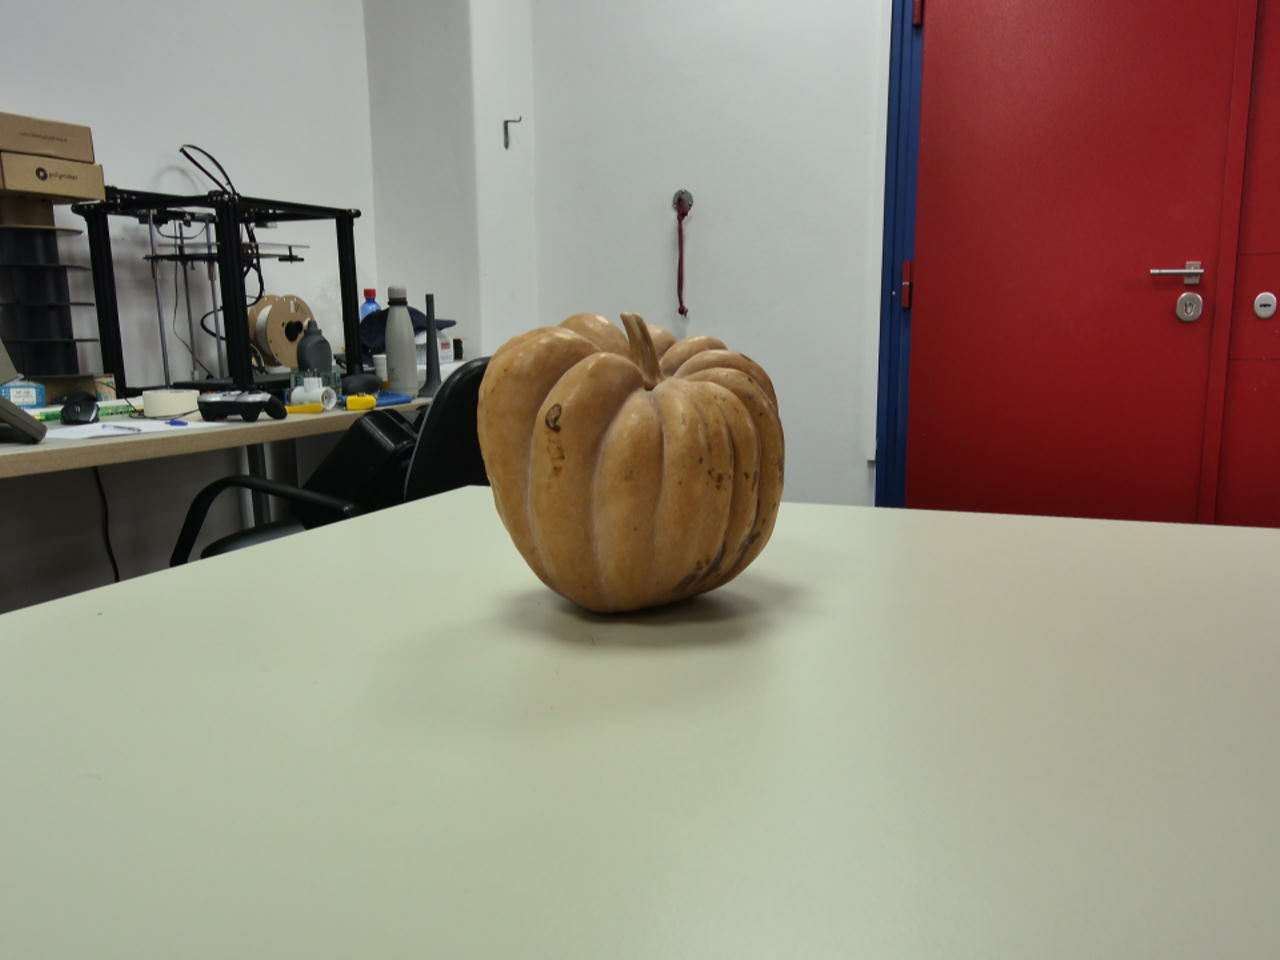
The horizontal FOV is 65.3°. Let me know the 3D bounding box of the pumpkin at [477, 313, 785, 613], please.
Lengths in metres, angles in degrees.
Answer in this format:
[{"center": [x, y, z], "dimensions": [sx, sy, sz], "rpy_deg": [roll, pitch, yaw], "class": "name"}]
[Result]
[{"center": [-0.008, -0.013, 0.608], "dimensions": [0.199, 0.177, 0.198], "rpy_deg": [0, 7, 0], "class": "pumpkin"}]
